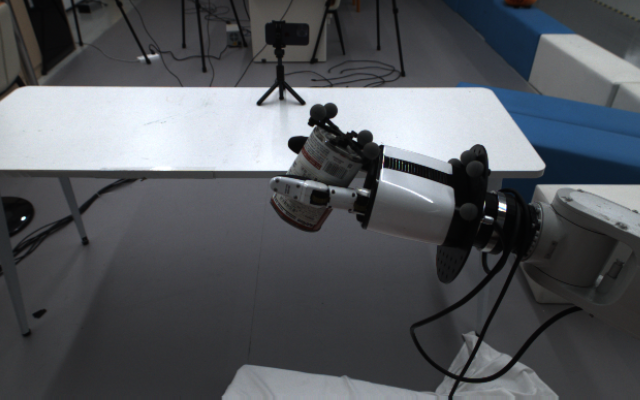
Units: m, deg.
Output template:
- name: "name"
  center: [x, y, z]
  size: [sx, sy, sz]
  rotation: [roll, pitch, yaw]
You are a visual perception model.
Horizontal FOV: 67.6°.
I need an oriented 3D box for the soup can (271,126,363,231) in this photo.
- name: "soup can"
  center: [-0.001, -0.024, 0.543]
  size: [0.067, 0.101, 0.067]
  rotation: [28, 22, -12]
